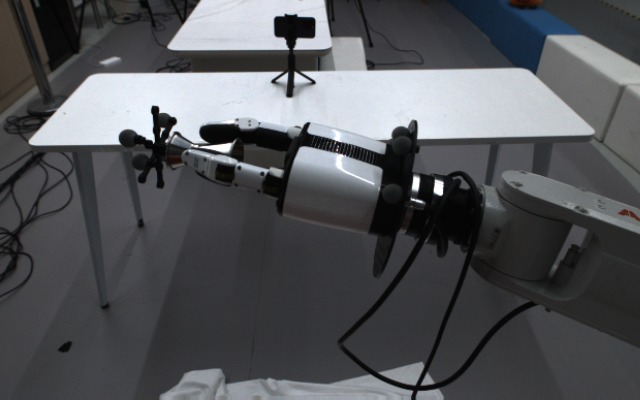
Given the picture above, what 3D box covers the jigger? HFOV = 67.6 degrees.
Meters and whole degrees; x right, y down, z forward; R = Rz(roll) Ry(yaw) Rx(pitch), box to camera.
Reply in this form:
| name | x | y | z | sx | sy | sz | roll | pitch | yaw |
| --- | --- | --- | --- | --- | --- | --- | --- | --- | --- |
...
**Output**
| name | x | y | z | sx | sy | sz | roll | pitch | yaw |
| --- | --- | --- | --- | --- | --- | --- | --- | --- | --- |
| jigger | -0.108 | -0.051 | 0.497 | 0.071 | 0.043 | 0.043 | 7 | 35 | 7 |
